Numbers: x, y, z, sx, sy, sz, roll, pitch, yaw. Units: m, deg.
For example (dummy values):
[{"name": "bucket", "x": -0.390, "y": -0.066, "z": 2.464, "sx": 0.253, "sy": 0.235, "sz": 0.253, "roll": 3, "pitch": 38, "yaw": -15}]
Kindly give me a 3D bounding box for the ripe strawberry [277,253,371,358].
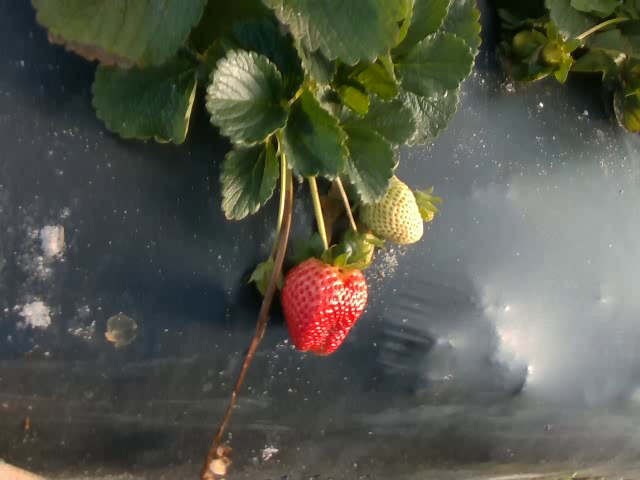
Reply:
[{"name": "ripe strawberry", "x": 0.005, "y": 0.035, "z": 0.305, "sx": 0.047, "sy": 0.050, "sz": 0.034, "roll": 11, "pitch": 6, "yaw": -25}]
